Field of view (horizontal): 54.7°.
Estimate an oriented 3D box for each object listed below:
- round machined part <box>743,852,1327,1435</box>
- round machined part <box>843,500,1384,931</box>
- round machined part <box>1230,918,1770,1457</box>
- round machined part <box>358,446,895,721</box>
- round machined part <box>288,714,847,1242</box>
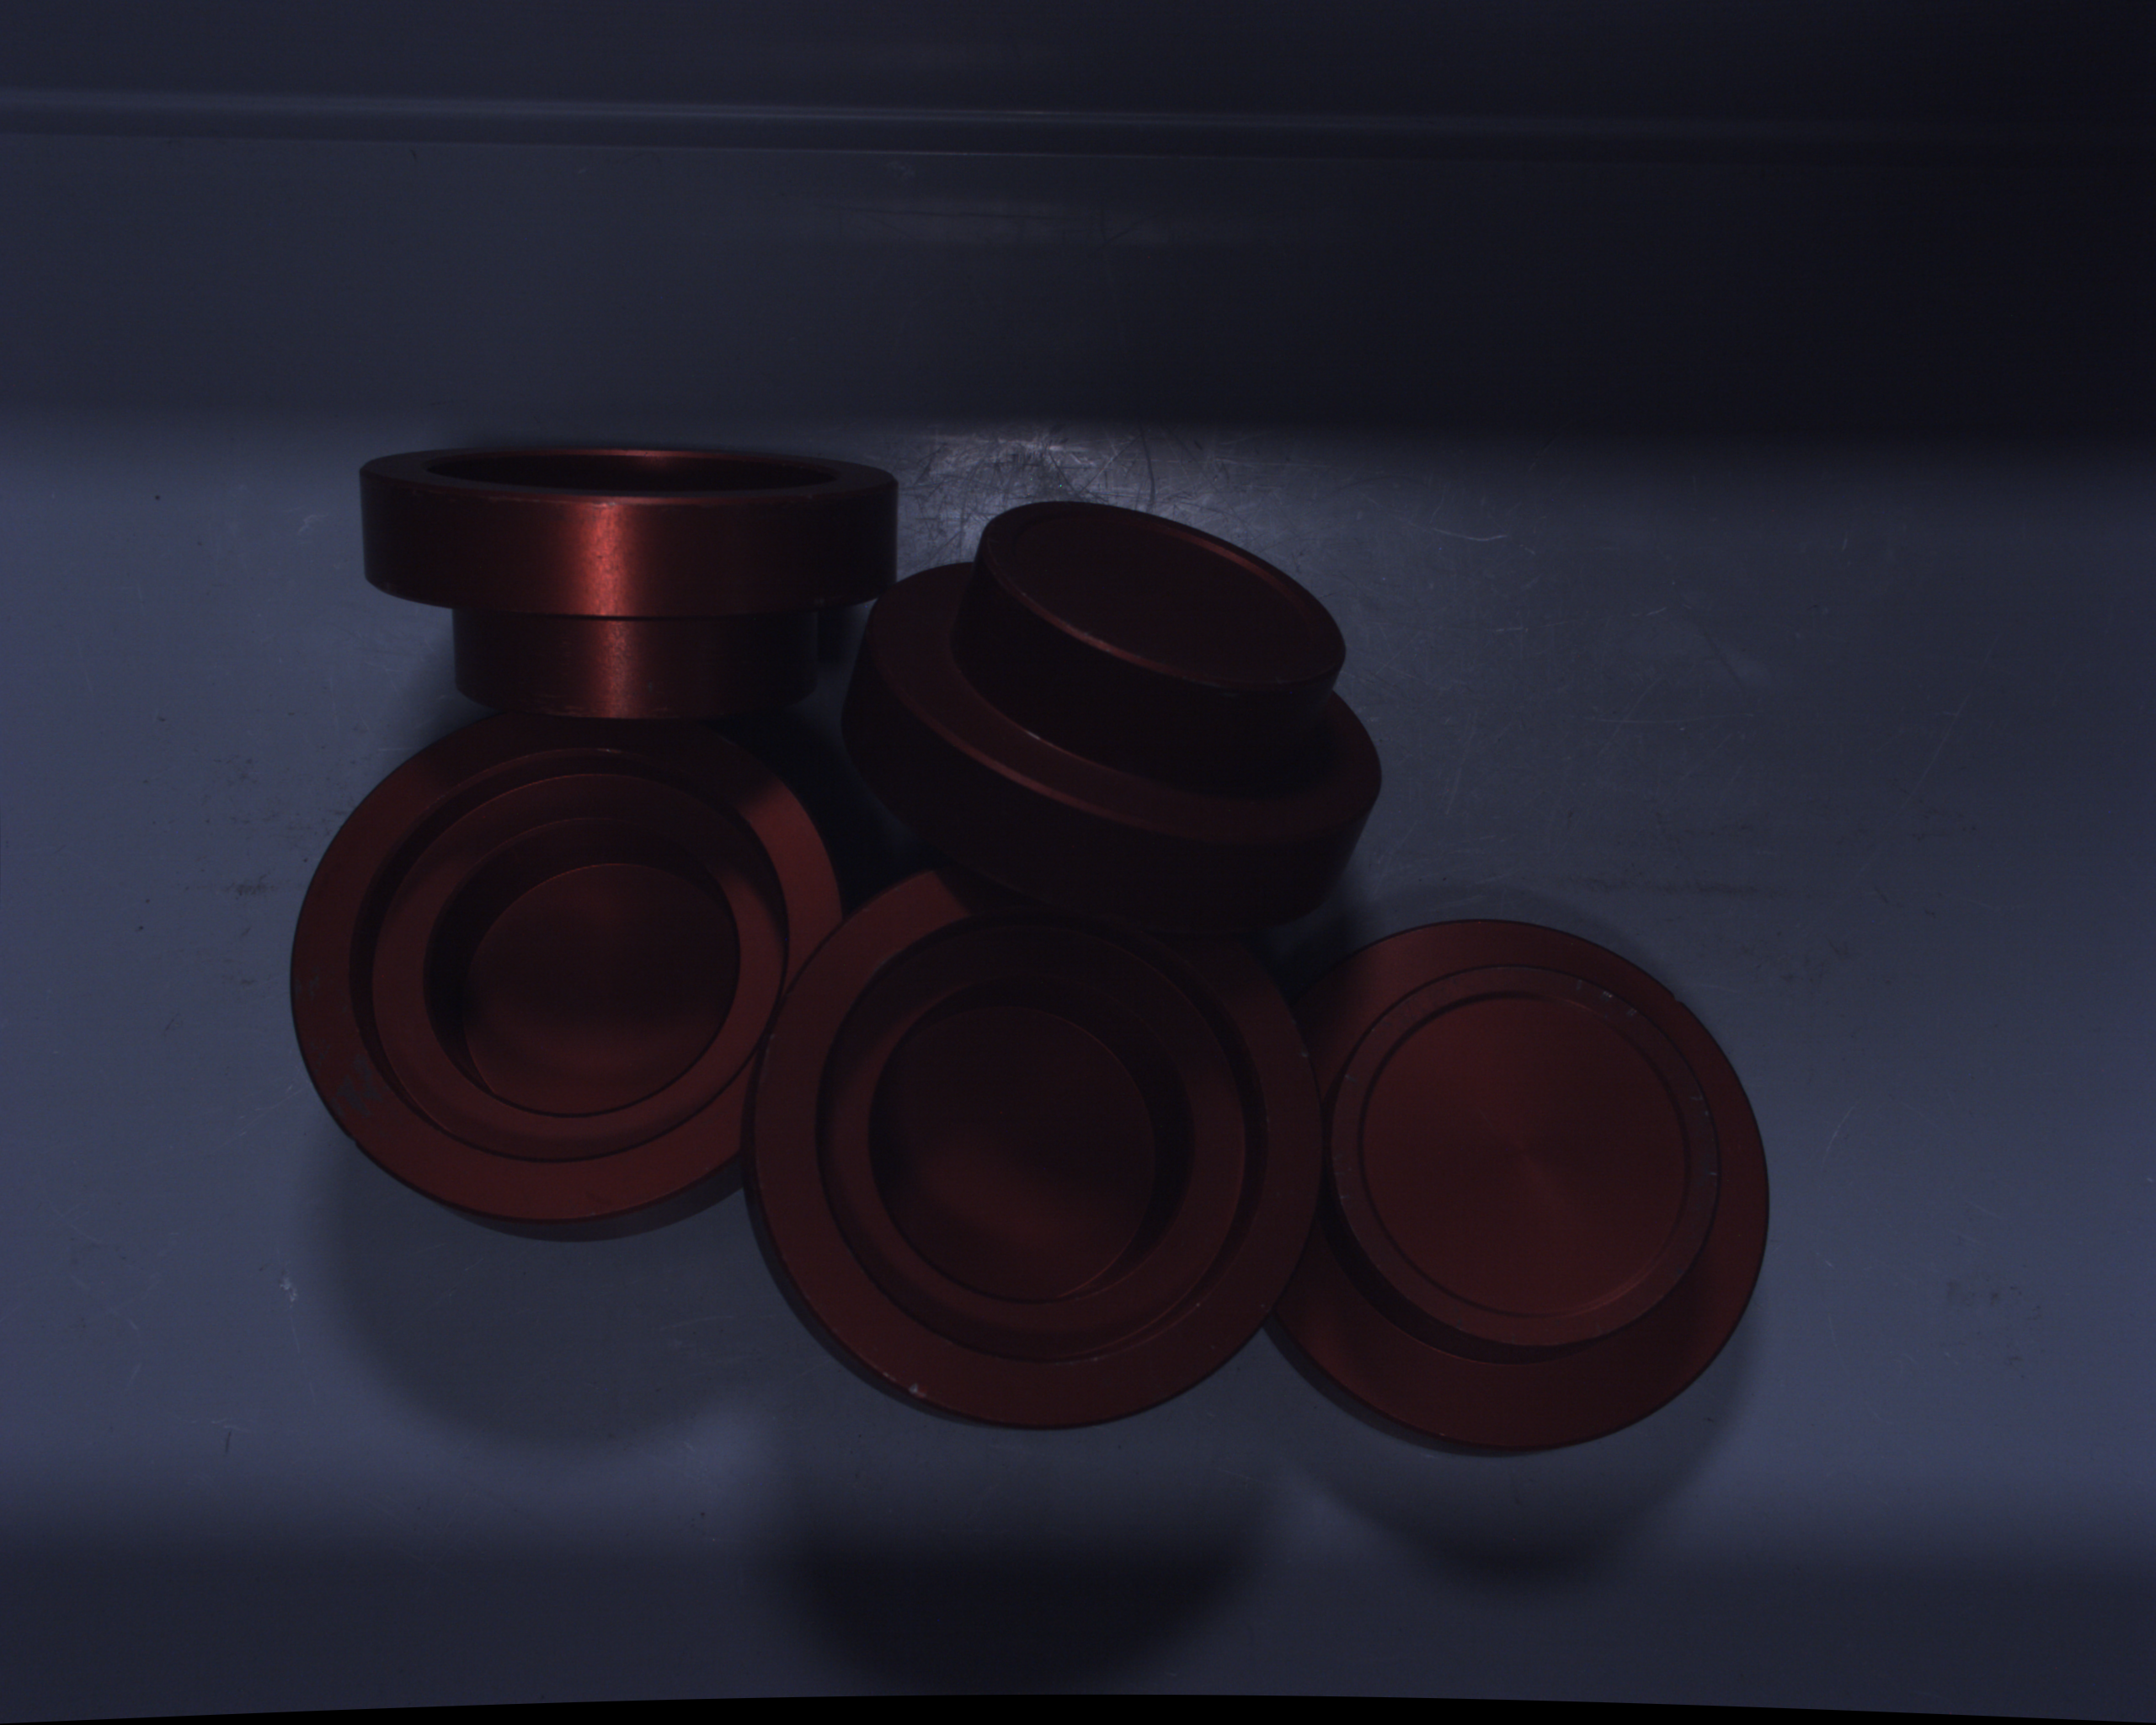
[{"bbox_3d":[-0.010,0.050,0.368,0.099,0.042,0.098,3,76,-13],"label":"round machined part"},{"bbox_3d":[0.010,-0.033,0.382,0.099,0.042,0.098,15,30,-8],"label":"round machined part"},{"bbox_3d":[0.077,0.056,0.379,0.099,0.042,0.098,0,70,-1],"label":"round machined part"},{"bbox_3d":[-0.084,-0.054,0.399,0.099,0.098,0.042,3,106,0],"label":"round machined part"},{"bbox_3d":[-0.090,0.022,0.389,0.099,0.042,0.098,0,70,-1],"label":"round machined part"}]
